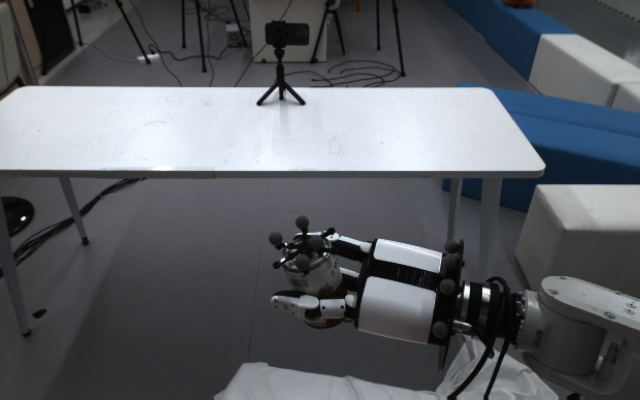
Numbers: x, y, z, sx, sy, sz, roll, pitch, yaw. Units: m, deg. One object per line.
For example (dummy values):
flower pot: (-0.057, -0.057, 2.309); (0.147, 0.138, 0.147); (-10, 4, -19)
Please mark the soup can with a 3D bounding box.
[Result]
soup can: (-0.001, 0.104, 0.613); (0.067, 0.101, 0.067); (-13, 31, 8)
